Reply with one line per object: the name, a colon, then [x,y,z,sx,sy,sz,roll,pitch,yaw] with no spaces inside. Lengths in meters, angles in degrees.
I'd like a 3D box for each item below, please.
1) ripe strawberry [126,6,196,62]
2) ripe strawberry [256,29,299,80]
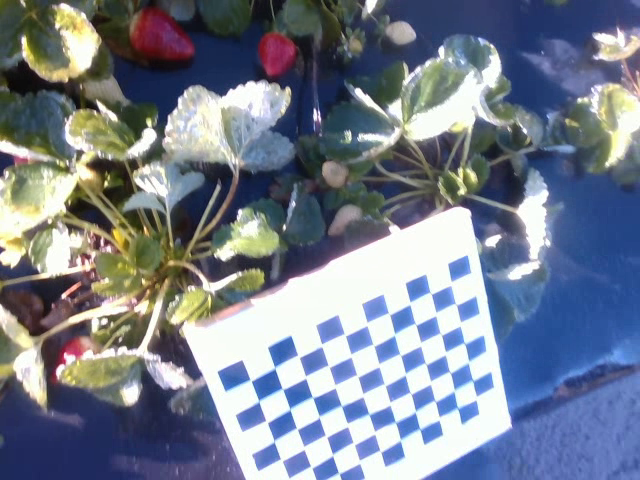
ripe strawberry: [-0.128,-0.173,0.485,0.056,0.044,0.040,29,-3,-24]
ripe strawberry: [-0.037,-0.165,0.510,0.039,0.047,0.040,17,-9,-25]
